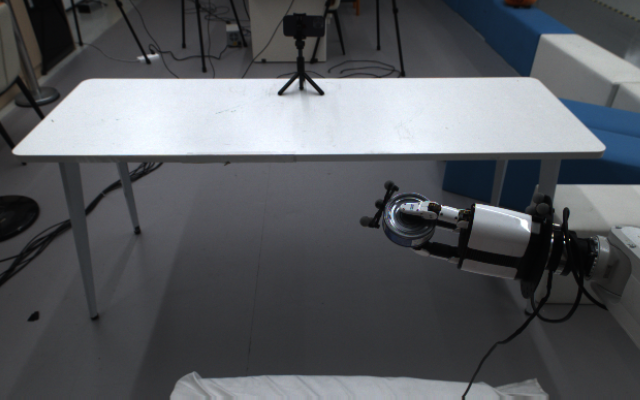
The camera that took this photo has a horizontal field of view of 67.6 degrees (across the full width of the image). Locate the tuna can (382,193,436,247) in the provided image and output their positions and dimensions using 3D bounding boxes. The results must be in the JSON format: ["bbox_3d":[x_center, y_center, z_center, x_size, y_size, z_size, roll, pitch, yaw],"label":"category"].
[{"bbox_3d":[0.146,0.030,0.777,0.085,0.034,0.085,0,62,1],"label":"tuna can"}]
